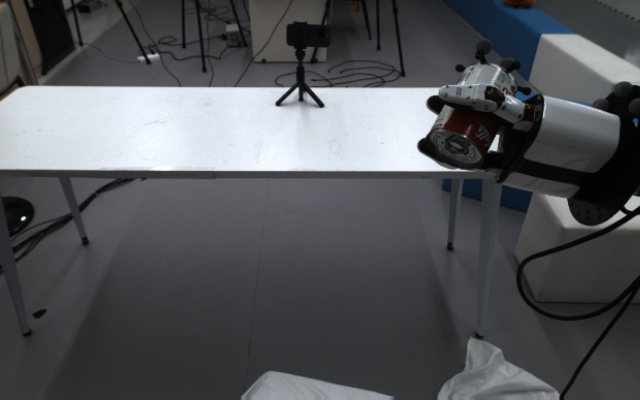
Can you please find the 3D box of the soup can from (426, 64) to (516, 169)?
[{"bbox_3d":[0.173,-0.095,0.544,0.067,0.067,0.101,22,71,27],"label":"soup can"}]
